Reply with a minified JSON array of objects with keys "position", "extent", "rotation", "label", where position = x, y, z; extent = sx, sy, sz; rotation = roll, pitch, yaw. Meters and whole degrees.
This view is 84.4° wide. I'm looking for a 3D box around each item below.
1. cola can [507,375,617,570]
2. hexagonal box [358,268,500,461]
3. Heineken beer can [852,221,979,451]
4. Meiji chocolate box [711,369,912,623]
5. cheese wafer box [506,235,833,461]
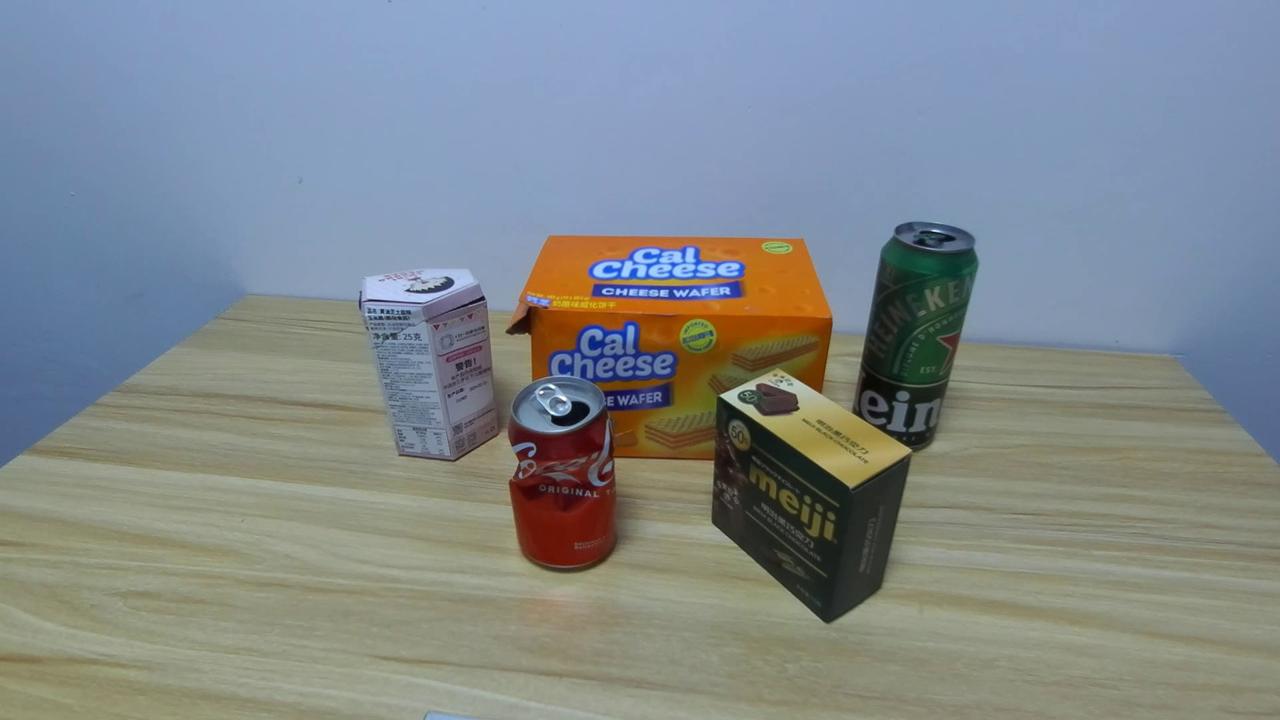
[{"position":[-0.048,0.071,0.446],"extent":[0.066,0.117,0.066],"rotation":[-3,31,-4],"label":"cola can"},{"position":[-0.159,0.000,0.547],"extent":[0.084,0.135,0.092],"rotation":[24,39,36],"label":"hexagonal box"},{"position":[0.205,-0.014,0.534],"extent":[0.067,0.169,0.067],"rotation":[0,31,0],"label":"Heineken beer can"},{"position":[0.100,0.080,0.436],"extent":[0.056,0.109,0.109],"rotation":[-22,37,-29],"label":"Meiji chocolate box"},{"position":[0.026,-0.017,0.570],"extent":[0.227,0.137,0.149],"rotation":[2,32,2],"label":"cheese wafer box"}]
